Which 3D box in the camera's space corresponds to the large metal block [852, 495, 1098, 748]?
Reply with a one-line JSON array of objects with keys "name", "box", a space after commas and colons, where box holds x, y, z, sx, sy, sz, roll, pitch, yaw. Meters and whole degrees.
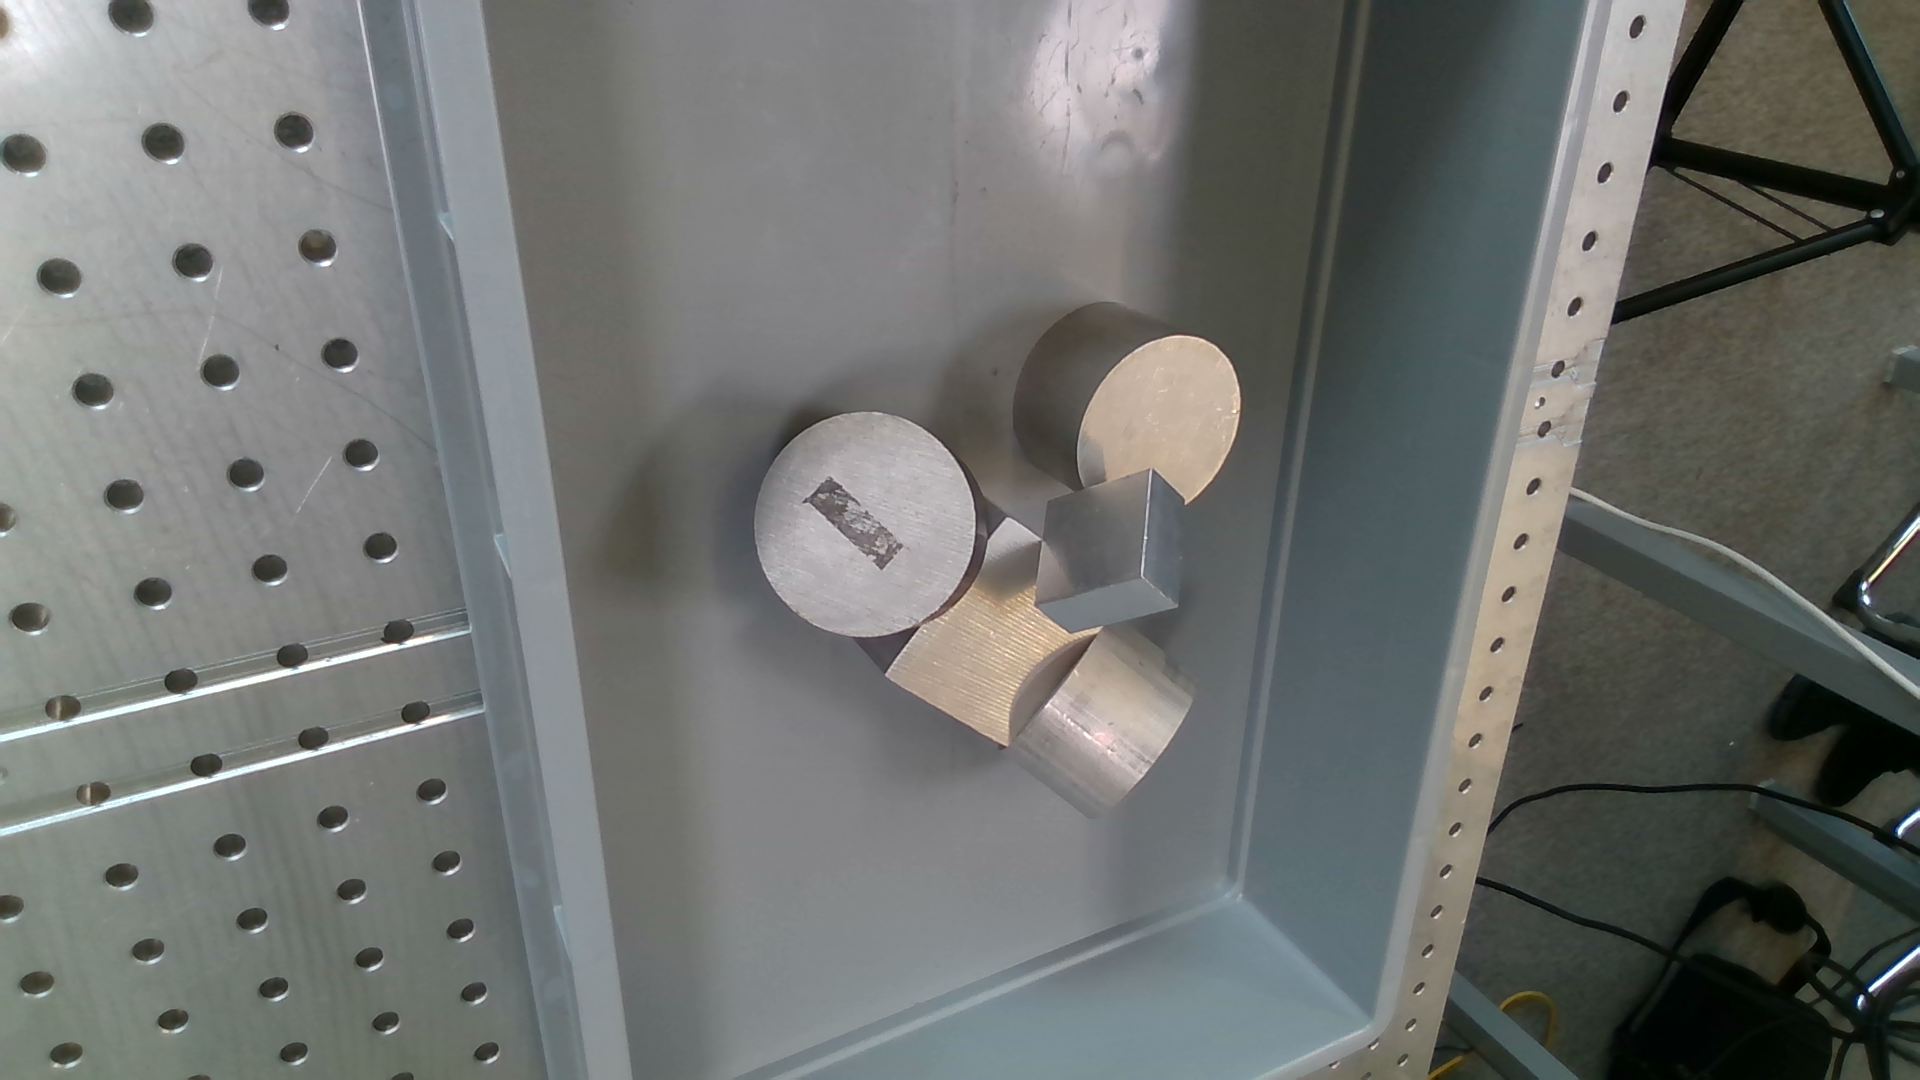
[{"name": "large metal block", "box": [0.007, 0.029, 0.581, 0.080, 0.050, 0.080, 36, 94, -39]}]

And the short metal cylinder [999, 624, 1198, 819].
[{"name": "short metal cylinder", "box": [0.061, 0.077, 0.614, 0.050, 0.080, 0.080, 37, 93, -1]}]

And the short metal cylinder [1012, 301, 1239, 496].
[{"name": "short metal cylinder", "box": [0.069, -0.055, 0.577, 0.080, 0.050, 0.080, -14, 122, -25]}]

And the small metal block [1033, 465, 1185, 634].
[{"name": "small metal block", "box": [0.059, 0.004, 0.538, 0.025, 0.050, 0.050, 37, 49, -38]}]

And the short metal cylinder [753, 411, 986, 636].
[{"name": "short metal cylinder", "box": [-0.032, -0.005, 0.514, 0.080, 0.050, 0.080, 0, 89, 7]}]
